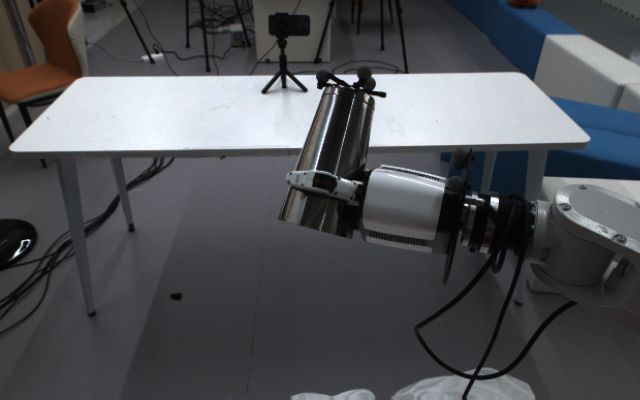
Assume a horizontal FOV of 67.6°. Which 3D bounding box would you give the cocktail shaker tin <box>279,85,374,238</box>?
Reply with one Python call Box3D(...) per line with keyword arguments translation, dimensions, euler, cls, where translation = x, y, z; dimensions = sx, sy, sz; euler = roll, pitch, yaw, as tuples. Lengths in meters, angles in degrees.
Box3D(translation=(0.015, -0.046, 0.589), dimensions=(0.093, 0.170, 0.093), euler=(15, -4, 1), cls="cocktail shaker tin")
